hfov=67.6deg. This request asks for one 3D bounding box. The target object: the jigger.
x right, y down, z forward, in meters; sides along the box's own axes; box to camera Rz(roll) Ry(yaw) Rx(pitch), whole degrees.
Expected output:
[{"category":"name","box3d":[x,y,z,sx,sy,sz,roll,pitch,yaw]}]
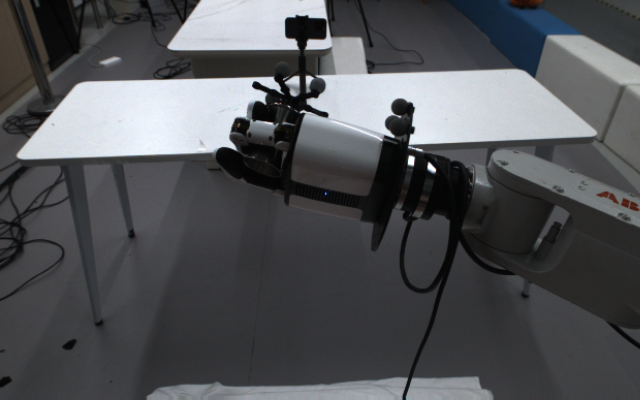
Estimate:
[{"category":"jigger","box3d":[-0.048,-0.065,0.514,0.043,0.043,0.071,15,70,18]}]
